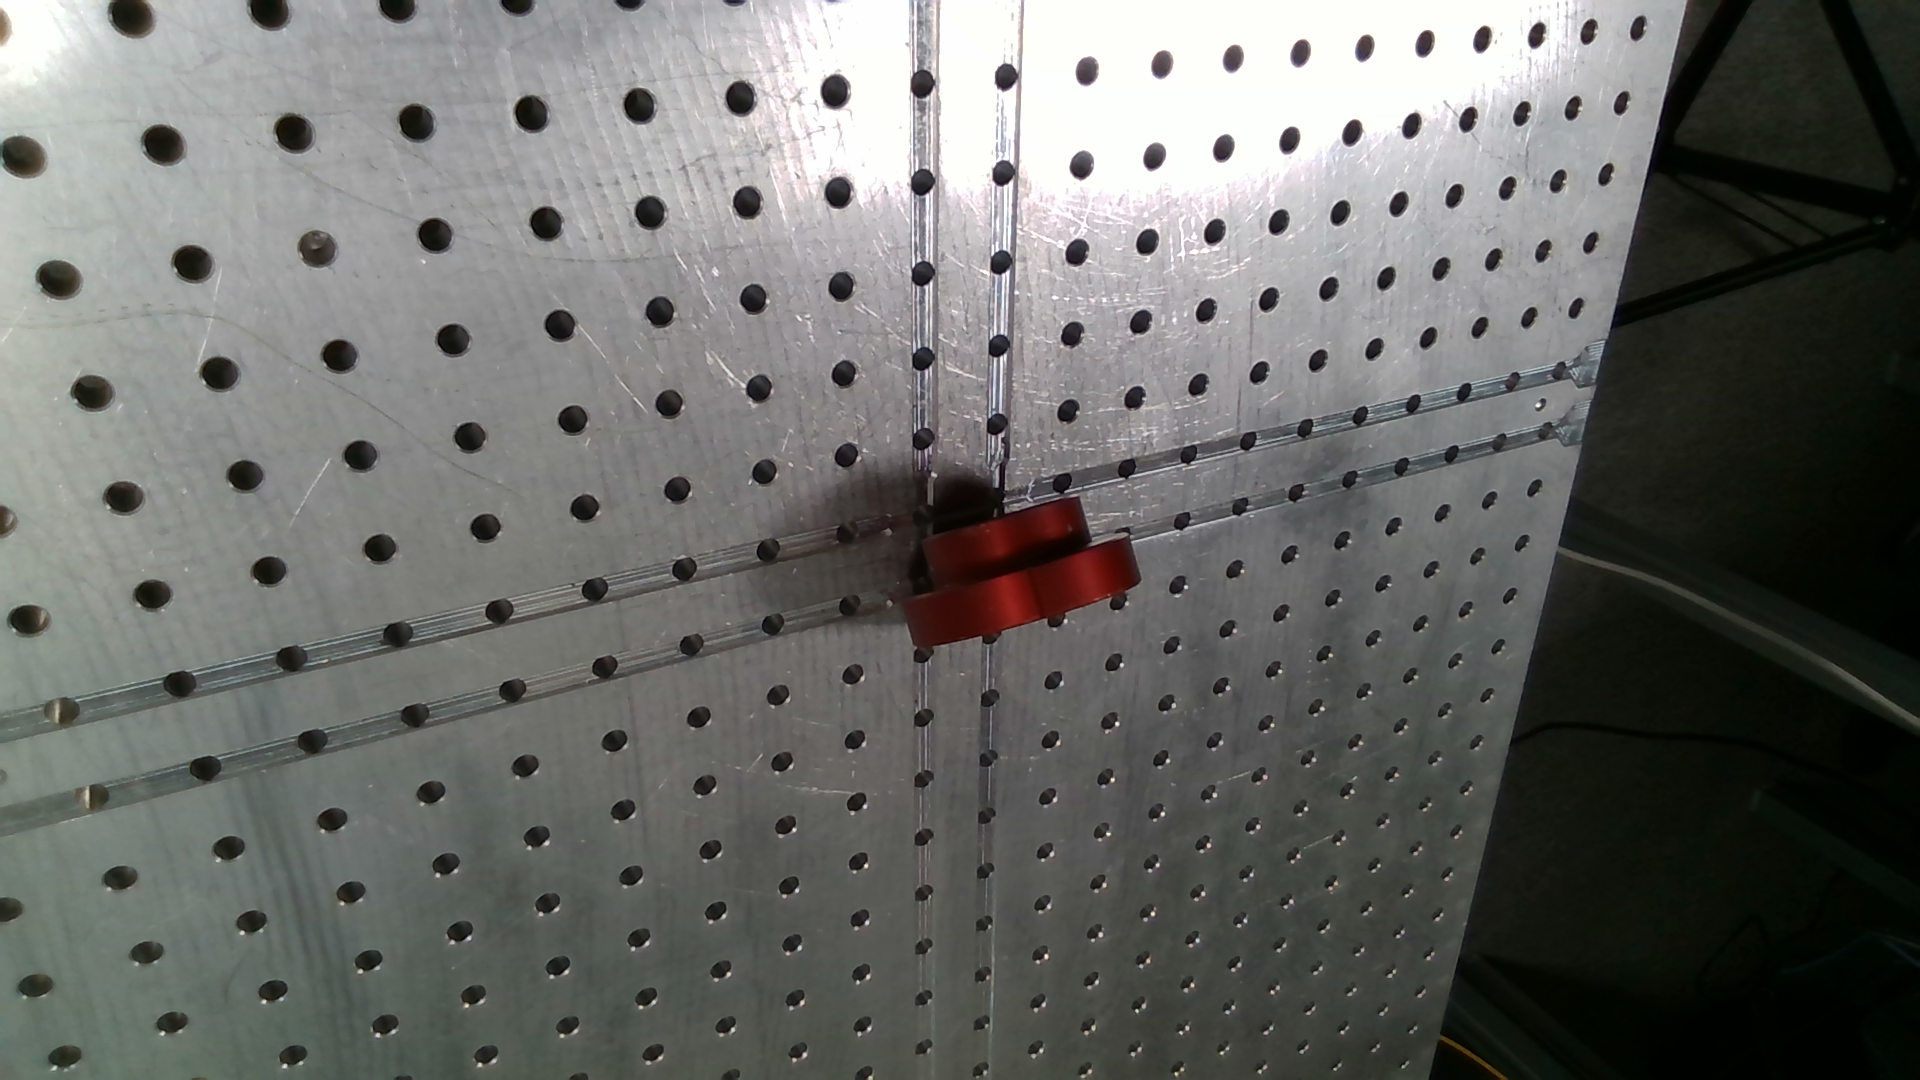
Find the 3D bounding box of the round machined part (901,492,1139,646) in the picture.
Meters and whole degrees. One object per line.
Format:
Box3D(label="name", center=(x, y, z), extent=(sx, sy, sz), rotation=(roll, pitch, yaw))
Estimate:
Box3D(label="round machined part", center=(0.022, 0.010, 0.567), extent=(0.098, 0.098, 0.042), rotation=(-17, 91, -23))
